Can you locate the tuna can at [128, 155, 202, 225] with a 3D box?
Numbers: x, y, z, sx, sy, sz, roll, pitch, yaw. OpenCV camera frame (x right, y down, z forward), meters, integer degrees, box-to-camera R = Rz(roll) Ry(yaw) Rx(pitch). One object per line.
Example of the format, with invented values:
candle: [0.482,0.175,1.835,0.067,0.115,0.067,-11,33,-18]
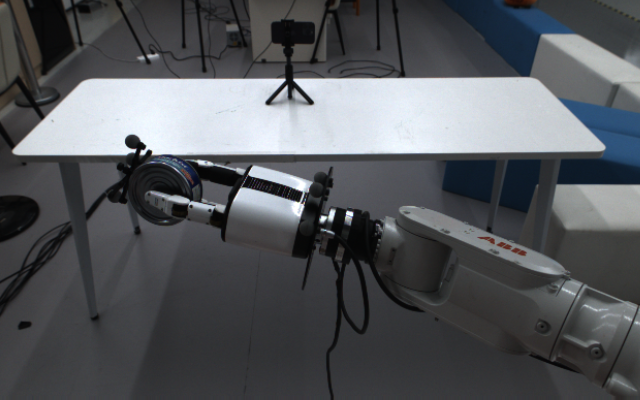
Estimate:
tuna can: [-0.192,-0.012,0.605,0.085,0.085,0.034,6,20,6]
